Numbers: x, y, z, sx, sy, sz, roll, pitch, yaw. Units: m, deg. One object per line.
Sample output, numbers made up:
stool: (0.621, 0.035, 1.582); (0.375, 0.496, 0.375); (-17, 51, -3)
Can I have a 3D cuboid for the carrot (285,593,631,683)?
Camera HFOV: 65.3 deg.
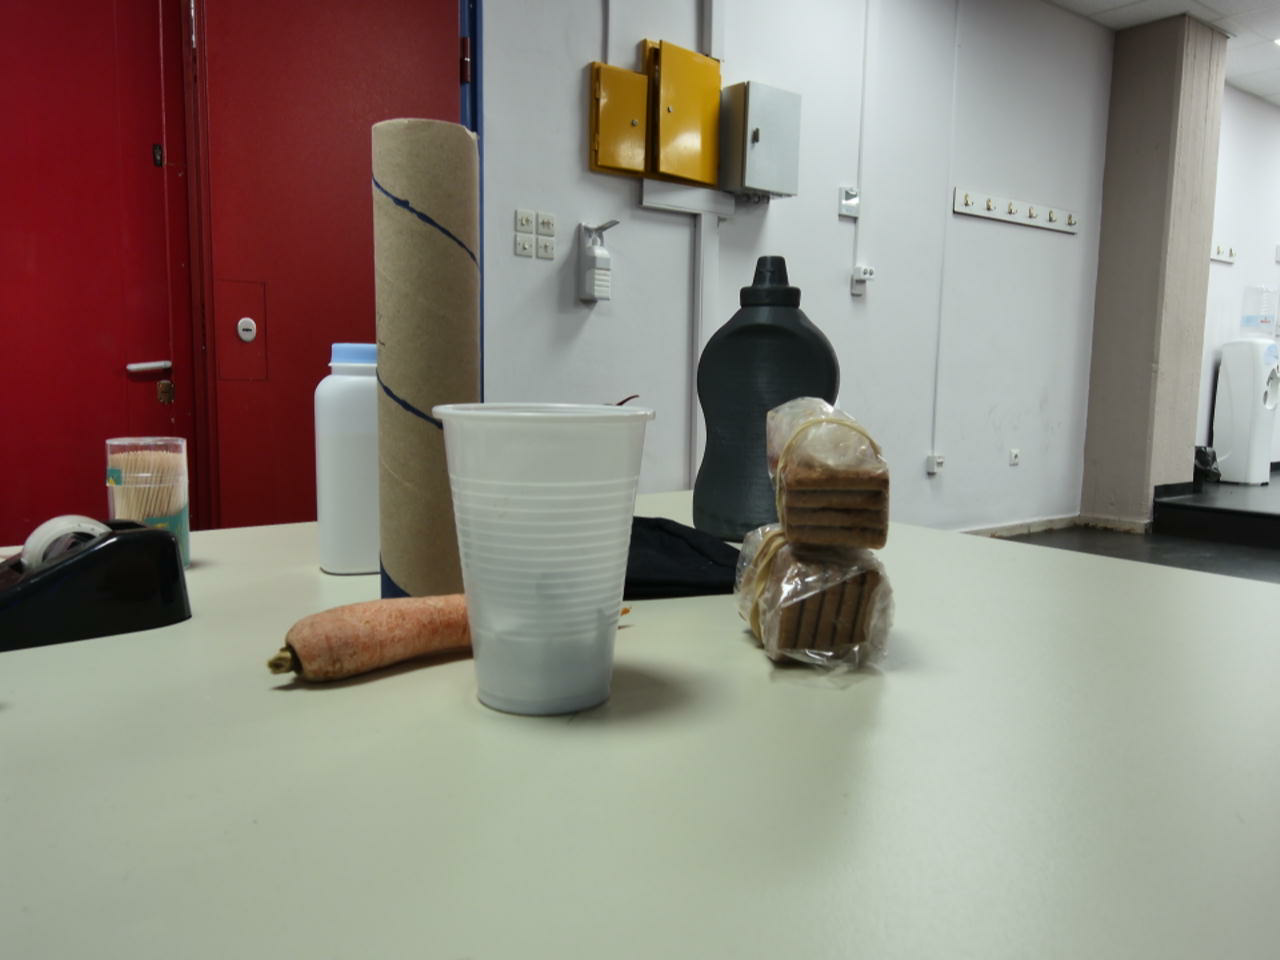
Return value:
carrot: (-0.073, 0.061, 0.429); (0.163, 0.029, 0.031); (-4, 5, -37)
